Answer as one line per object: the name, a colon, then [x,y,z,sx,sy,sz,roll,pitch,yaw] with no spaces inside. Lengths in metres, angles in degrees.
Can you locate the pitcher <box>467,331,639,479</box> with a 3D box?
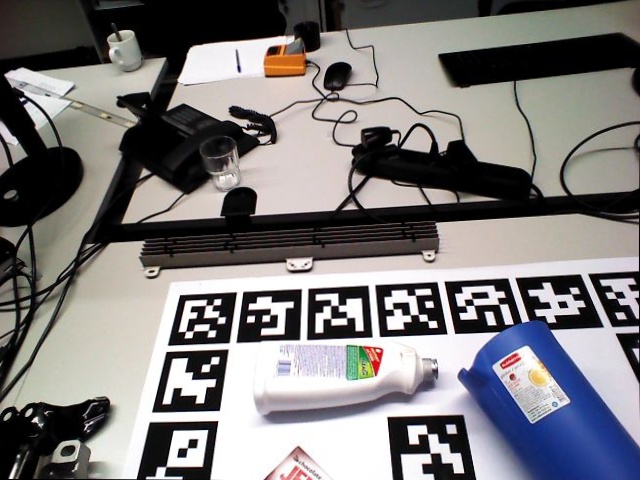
pitcher: [0.299,0.236,0.596,0.188,0.134,0.242,4,42,-36]

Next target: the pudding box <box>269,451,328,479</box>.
pudding box: [-0.019,0.320,0.602,0.089,0.039,0.114,-34,53,-28]

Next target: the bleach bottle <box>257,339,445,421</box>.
bleach bottle: [0.044,0.185,0.708,0.251,0.068,0.102,-5,51,2]
